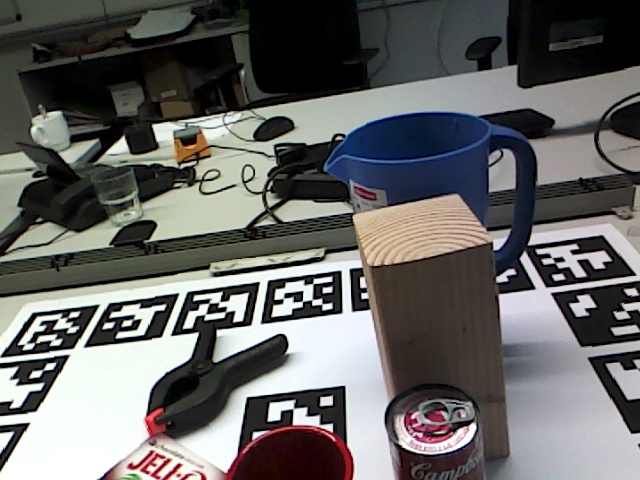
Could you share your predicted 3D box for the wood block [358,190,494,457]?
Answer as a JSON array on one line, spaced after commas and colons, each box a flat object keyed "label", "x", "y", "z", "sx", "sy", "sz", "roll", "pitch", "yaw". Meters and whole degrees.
[{"label": "wood block", "x": 0.088, "y": 0.075, "z": 0.512, "sx": 0.090, "sy": 0.205, "sz": 0.091, "roll": -7, "pitch": 27, "yaw": 2}]

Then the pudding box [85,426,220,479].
[{"label": "pudding box", "x": -0.145, "y": 0.218, "z": 0.525, "sx": 0.114, "sy": 0.038, "sz": 0.090, "roll": 11, "pitch": 38, "yaw": 39}]

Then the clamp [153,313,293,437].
[{"label": "clamp", "x": -0.119, "y": 0.144, "z": 0.668, "sx": 0.122, "sy": 0.036, "sz": 0.164, "roll": 13, "pitch": 36, "yaw": 27}]

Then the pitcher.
[{"label": "pitcher", "x": 0.113, "y": 0.001, "z": 0.610, "sx": 0.189, "sy": 0.242, "sz": 0.133, "roll": -11, "pitch": 24, "yaw": 7}]

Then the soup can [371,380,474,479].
[{"label": "soup can", "x": 0.079, "y": 0.165, "z": 0.457, "sx": 0.068, "sy": 0.101, "sz": 0.068, "roll": -10, "pitch": 29, "yaw": 5}]

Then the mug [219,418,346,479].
[{"label": "mug", "x": -0.011, "y": 0.198, "z": 0.456, "sx": 0.118, "sy": 0.081, "sz": 0.093, "roll": 10, "pitch": 32, "yaw": 38}]
